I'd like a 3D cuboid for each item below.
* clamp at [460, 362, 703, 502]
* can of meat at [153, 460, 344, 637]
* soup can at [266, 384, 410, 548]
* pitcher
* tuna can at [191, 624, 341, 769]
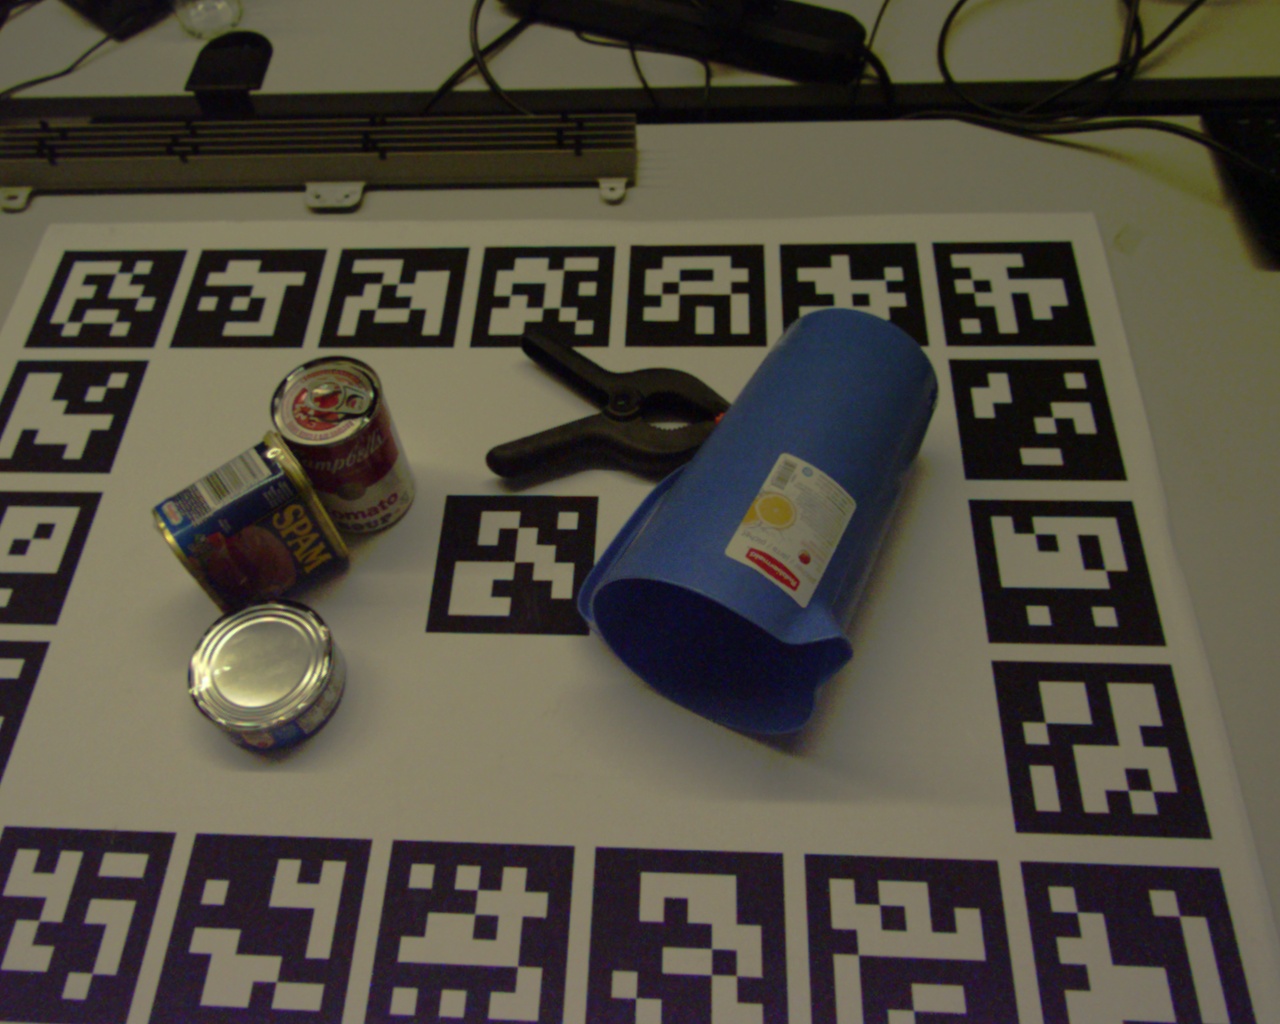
[{"bbox_3d":[-0.039,-0.054,0.815,0.165,0.036,0.122,4,54,3],"label":"clamp"},{"bbox_3d":[-0.249,0.027,0.726,0.083,0.101,0.058,-32,63,-12],"label":"can of meat"},{"bbox_3d":[-0.199,-0.028,0.763,0.068,0.101,0.068,-3,60,5],"label":"soup can"},{"bbox_3d":[0.067,0.009,0.696,0.191,0.132,0.241,6,49,34],"label":"pitcher"},{"bbox_3d":[-0.232,0.115,0.713,0.086,0.033,0.086,-2,60,3],"label":"tuna can"}]
